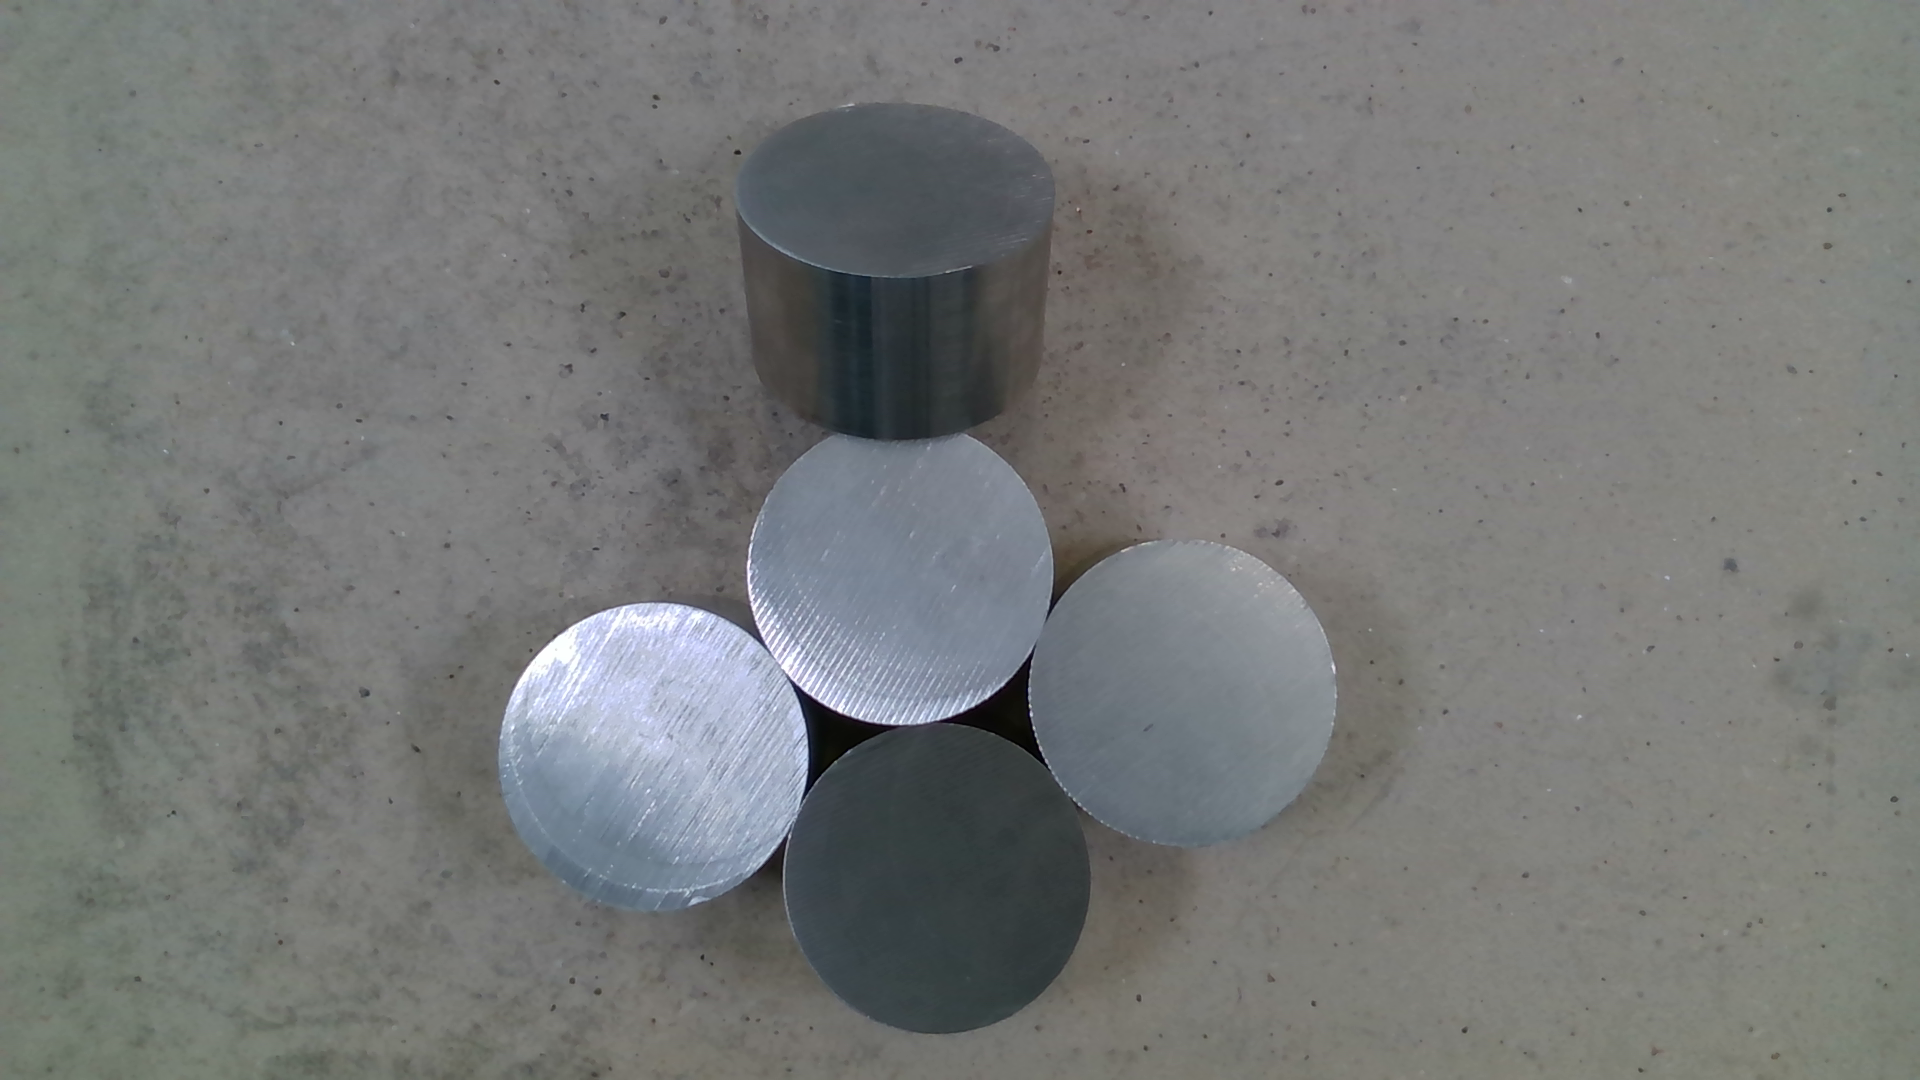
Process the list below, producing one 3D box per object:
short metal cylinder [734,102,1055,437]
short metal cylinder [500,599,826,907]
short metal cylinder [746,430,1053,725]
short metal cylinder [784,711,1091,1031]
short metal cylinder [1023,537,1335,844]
[{"bbox_3d":[-0.017,-0.072,0.362,0.080,0.050,0.080,1,46,-1],"label":"short metal cylinder"},{"bbox_3d":[-0.080,0.056,0.383,0.080,0.050,0.080,0,90,0],"label":"short metal cylinder"},{"bbox_3d":[-0.016,0.008,0.383,0.080,0.050,0.080,0,90,0],"label":"short metal cylinder"},{"bbox_3d":[-0.006,0.088,0.383,0.080,0.050,0.080,0,90,0],"label":"short metal cylinder"},{"bbox_3d":[0.058,0.039,0.383,0.080,0.050,0.080,0,90,0],"label":"short metal cylinder"}]
